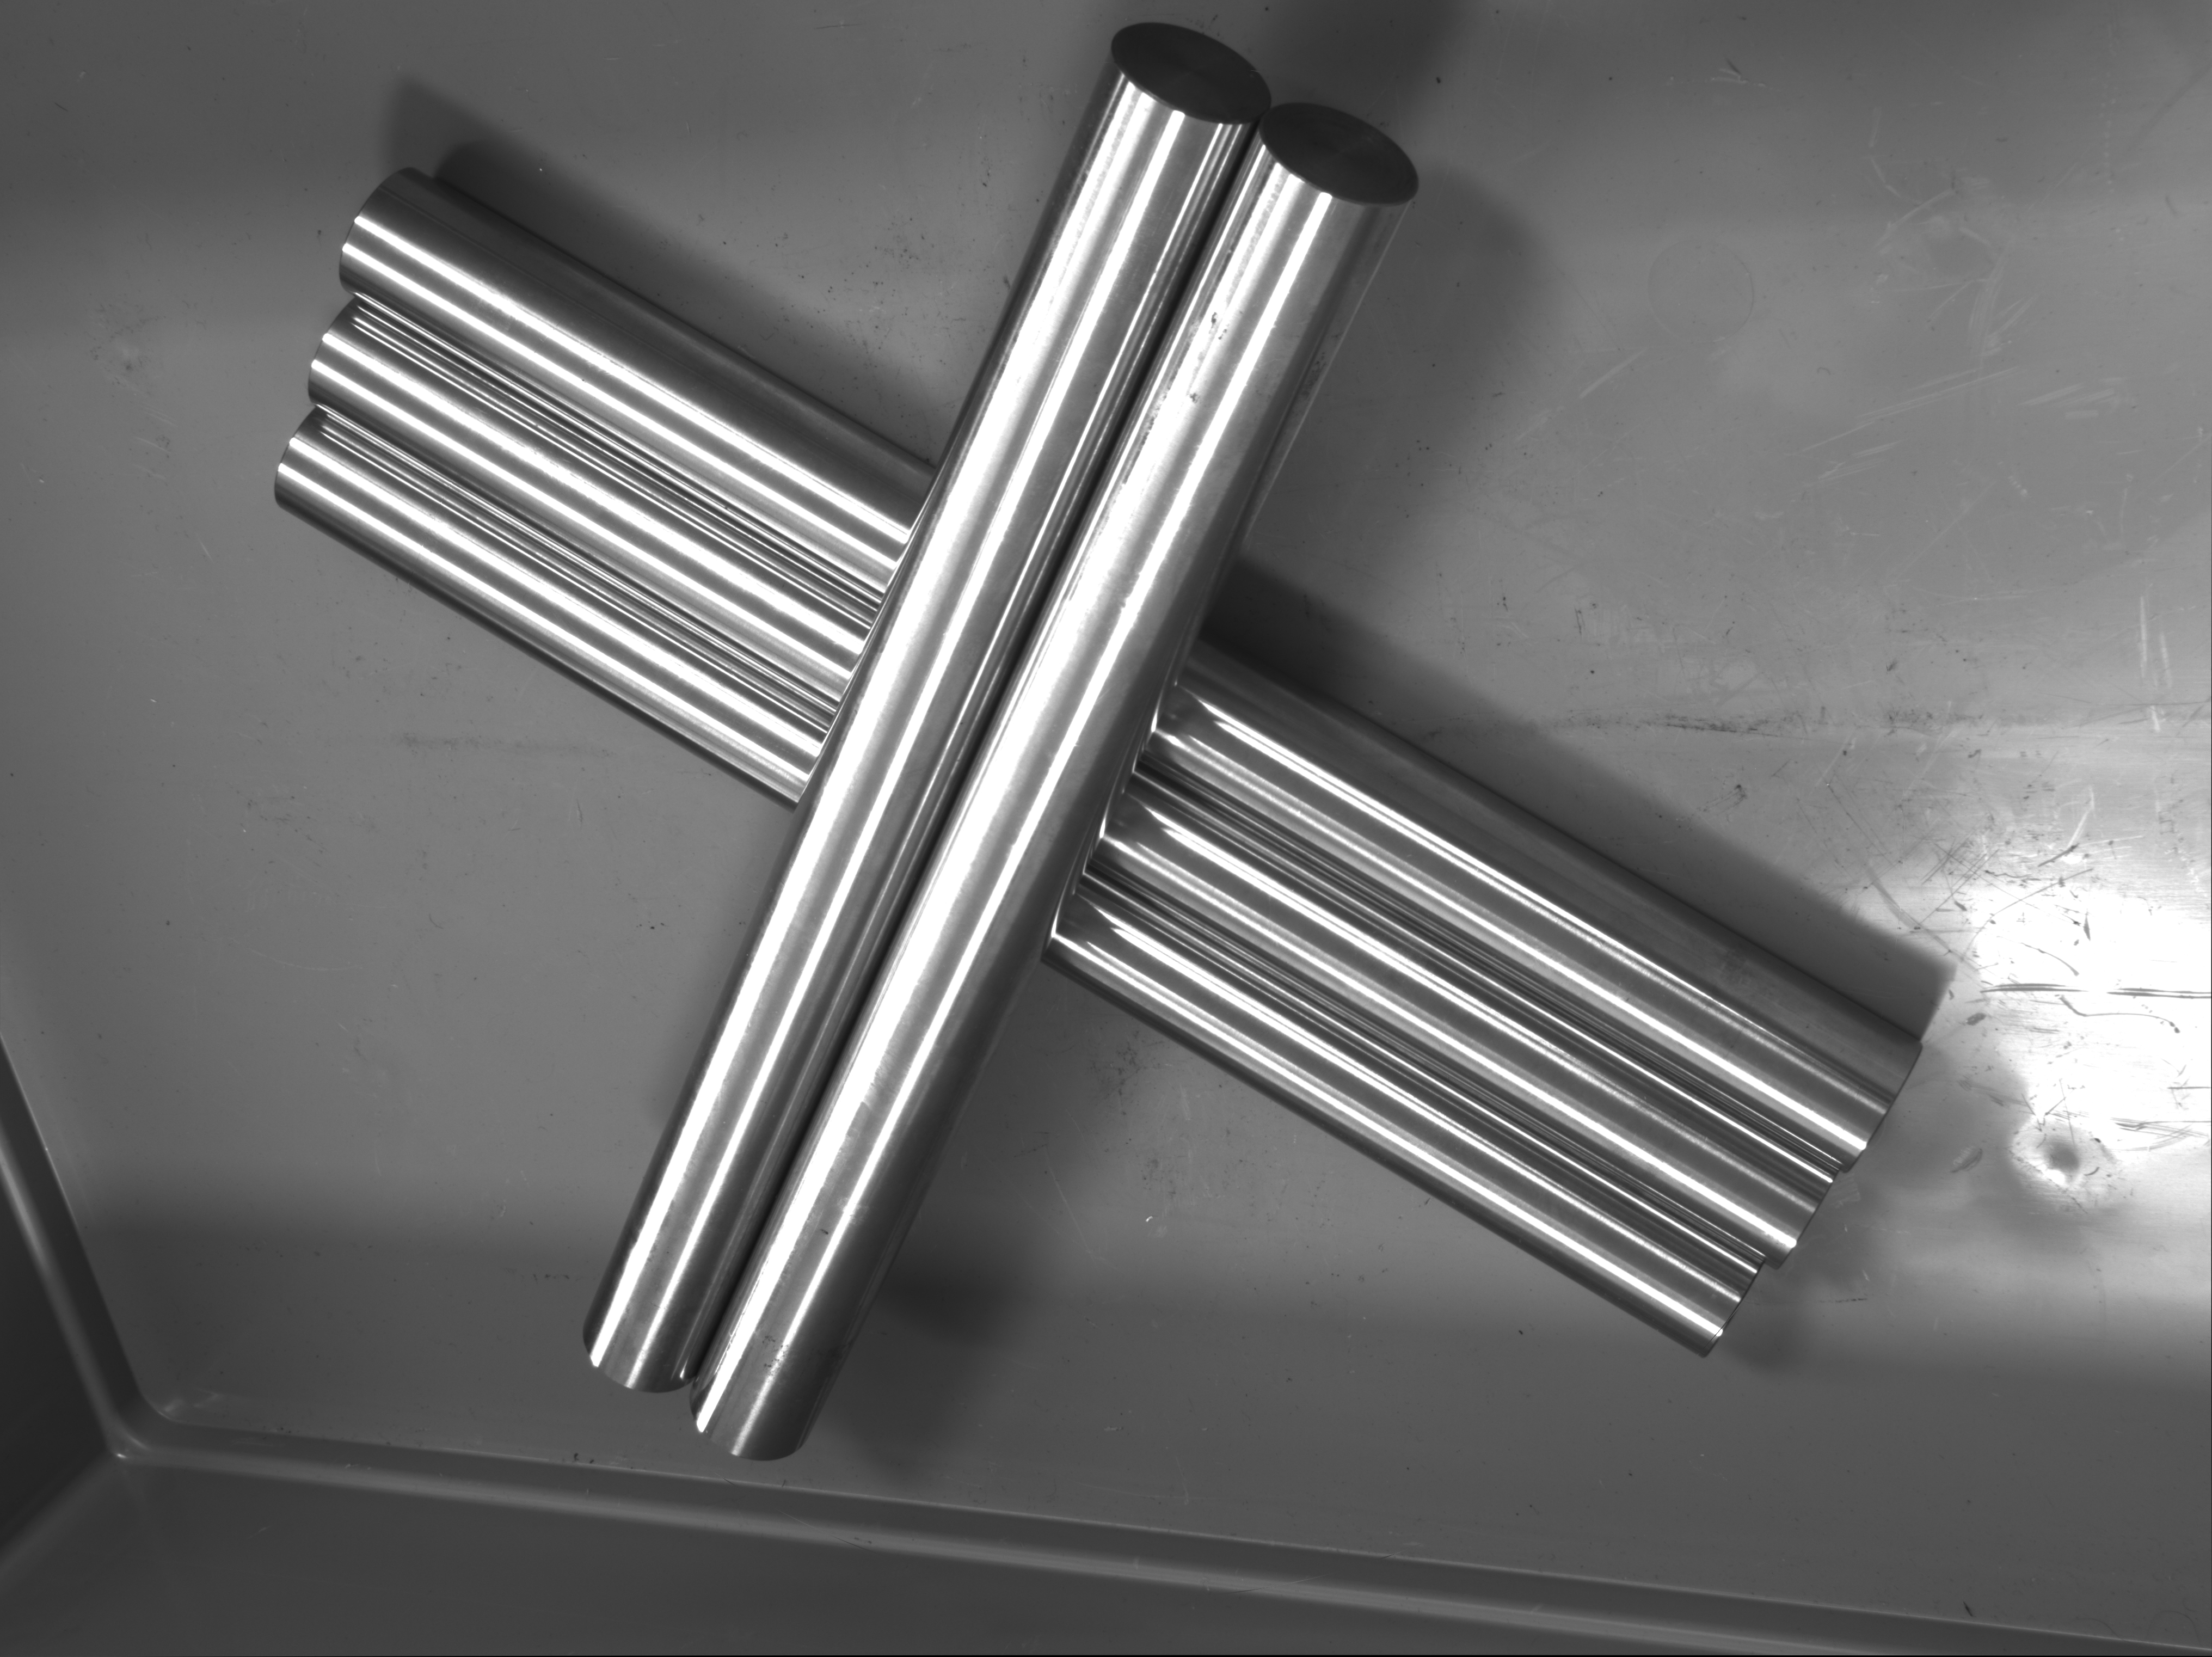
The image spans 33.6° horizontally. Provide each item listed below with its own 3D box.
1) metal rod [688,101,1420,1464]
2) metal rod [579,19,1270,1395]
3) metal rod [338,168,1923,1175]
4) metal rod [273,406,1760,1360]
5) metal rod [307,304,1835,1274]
[{"bbox_3d":[-0.018,0.008,0.623,0.025,0.025,0.300,32,129,8],"label":"metal rod"},{"bbox_3d":[-0.039,-0.005,0.627,0.025,0.025,0.300,32,129,8],"label":"metal rod"},{"bbox_3d":[0.000,-0.029,0.623,0.300,0.025,0.025,31,128,8],"label":"metal rod"},{"bbox_3d":[-0.018,0.006,0.654,0.300,0.025,0.025,31,128,9],"label":"metal rod"},{"bbox_3d":[-0.009,-0.011,0.639,0.300,0.025,0.025,31,128,9],"label":"metal rod"}]
